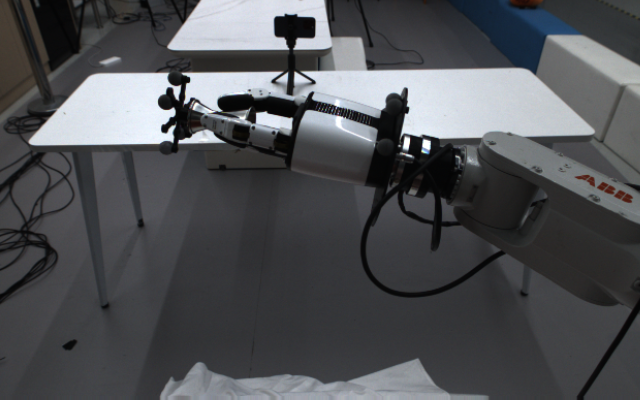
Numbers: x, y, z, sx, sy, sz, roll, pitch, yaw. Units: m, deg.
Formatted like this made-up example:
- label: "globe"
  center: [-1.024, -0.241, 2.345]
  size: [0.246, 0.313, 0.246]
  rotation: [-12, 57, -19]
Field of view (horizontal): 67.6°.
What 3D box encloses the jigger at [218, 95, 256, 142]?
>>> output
- label: "jigger"
  center: [-0.105, -0.092, 0.558]
  size: [0.071, 0.043, 0.043]
  rotation: [9, 35, 3]
